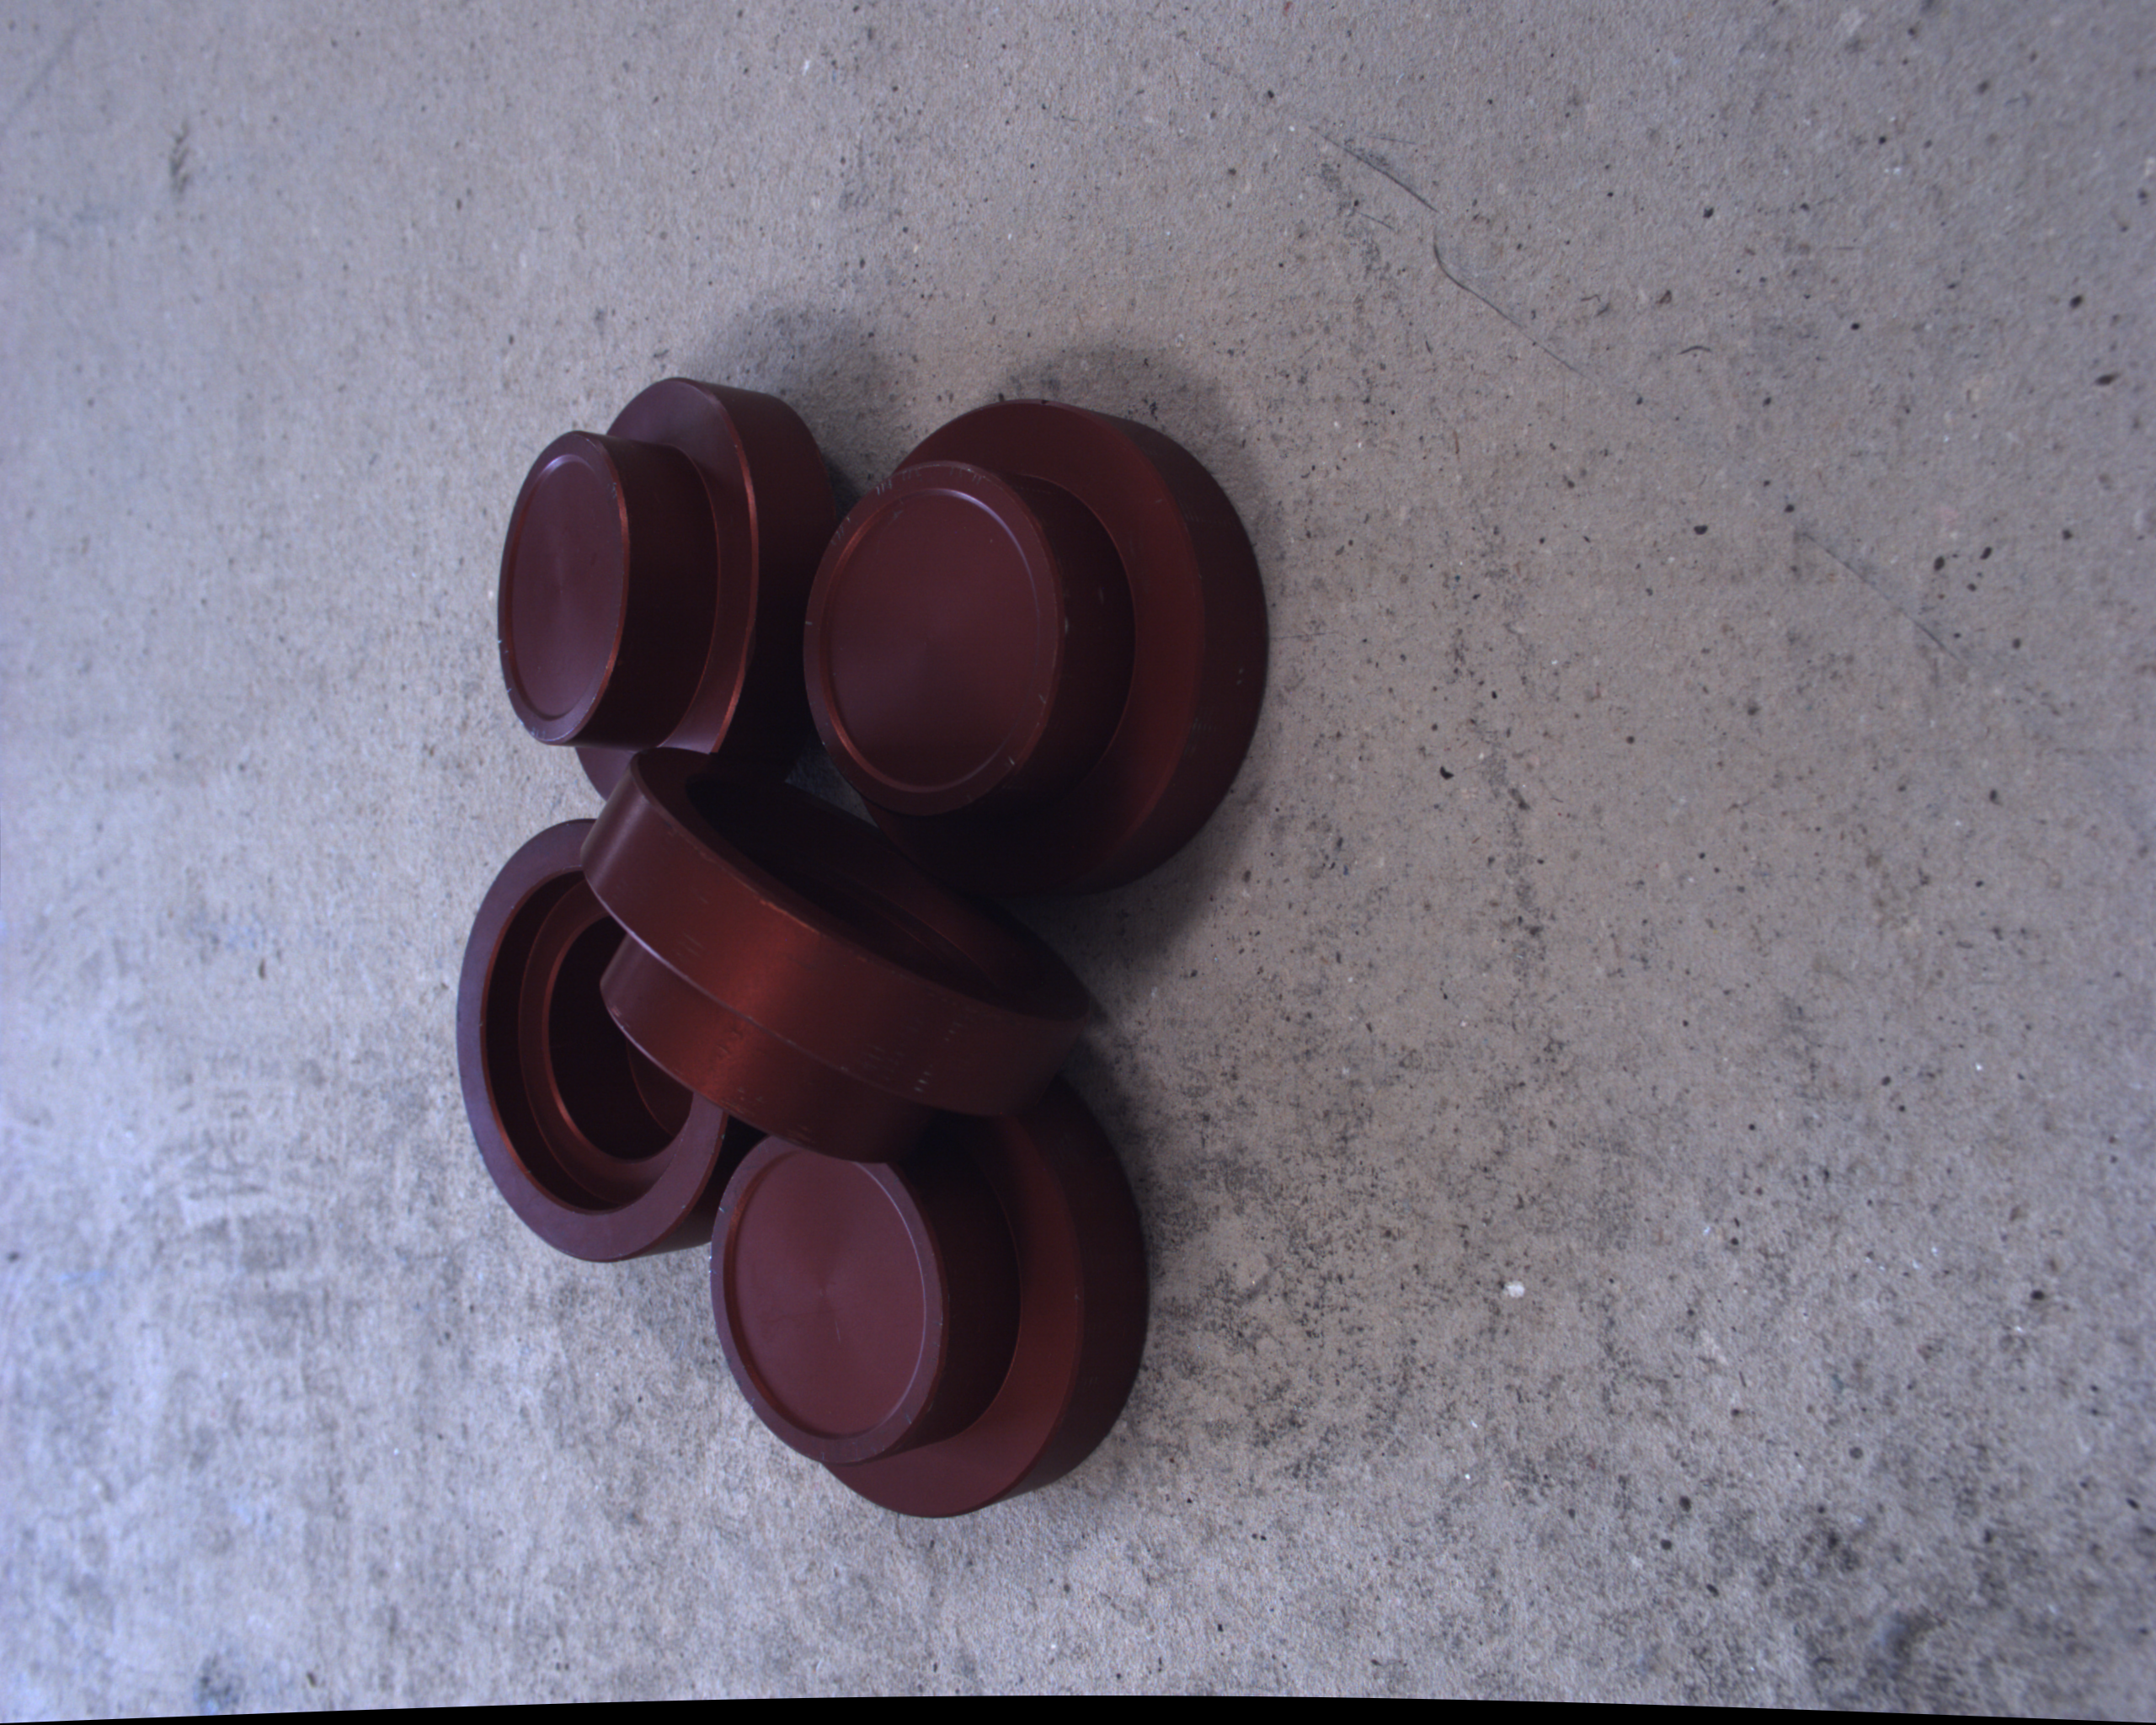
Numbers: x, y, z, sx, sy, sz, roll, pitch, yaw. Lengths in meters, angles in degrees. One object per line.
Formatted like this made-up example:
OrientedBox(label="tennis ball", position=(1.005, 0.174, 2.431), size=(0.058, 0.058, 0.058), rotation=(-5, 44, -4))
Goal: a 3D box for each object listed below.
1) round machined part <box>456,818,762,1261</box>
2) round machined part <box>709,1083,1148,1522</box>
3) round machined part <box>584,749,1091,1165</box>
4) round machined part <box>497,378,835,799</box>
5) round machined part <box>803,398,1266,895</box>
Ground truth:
OrientedBox(label="round machined part", position=(-0.095, 0.038, 0.474), size=(0.098, 0.042, 0.097), rotation=(2, 93, 40))
OrientedBox(label="round machined part", position=(-0.037, 0.085, 0.426), size=(0.098, 0.042, 0.097), rotation=(-1, 88, 39))
OrientedBox(label="round machined part", position=(-0.050, 0.021, 0.397), size=(0.098, 0.098, 0.042), rotation=(36, 99, 34))
OrientedBox(label="round machined part", position=(-0.096, -0.058, 0.461), size=(0.098, 0.042, 0.097), rotation=(-4, 85, 53))
OrientedBox(label="round machined part", position=(-0.015, -0.042, 0.408), size=(0.098, 0.042, 0.097), rotation=(-1, 88, 39))
